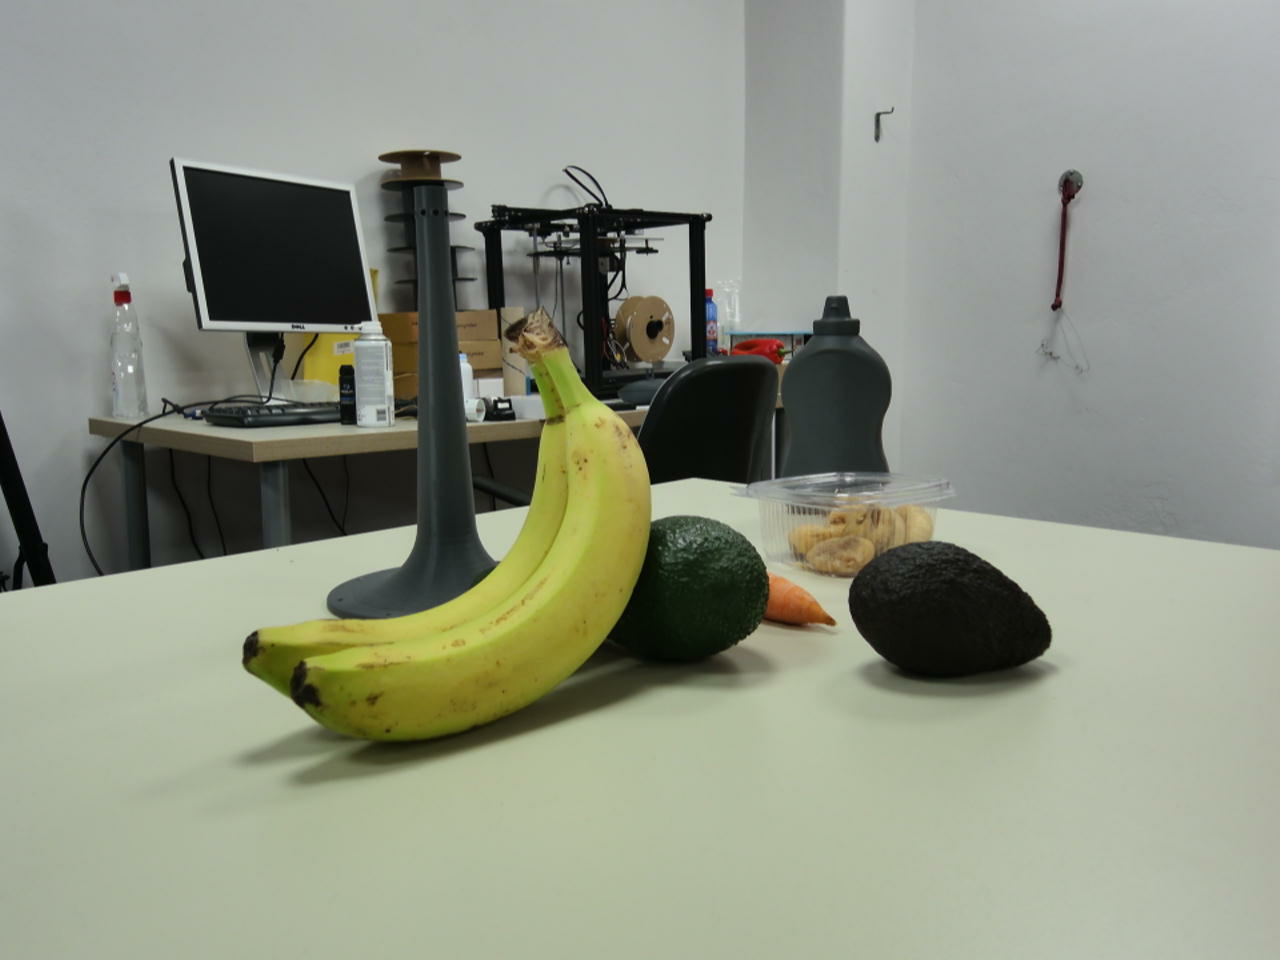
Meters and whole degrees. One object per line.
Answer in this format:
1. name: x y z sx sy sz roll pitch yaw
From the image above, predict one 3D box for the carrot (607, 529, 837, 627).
1. carrot: 0.050 0.063 0.659 0.039 0.041 0.196 -6 9 -43
